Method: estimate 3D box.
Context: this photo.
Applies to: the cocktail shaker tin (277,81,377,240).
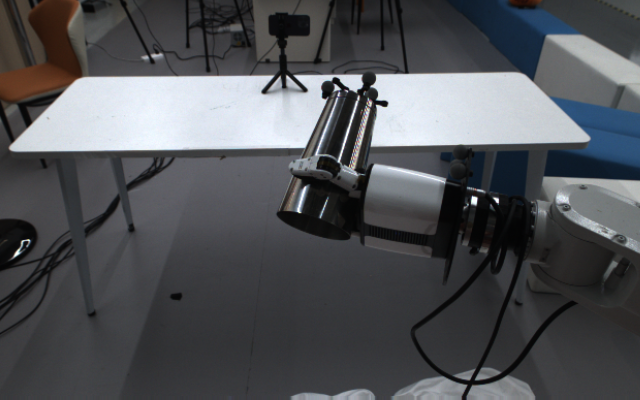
[{"bbox_3d":[0.016,-0.046,0.596,0.093,0.093,0.170,14,72,16],"label":"cocktail shaker tin"}]
